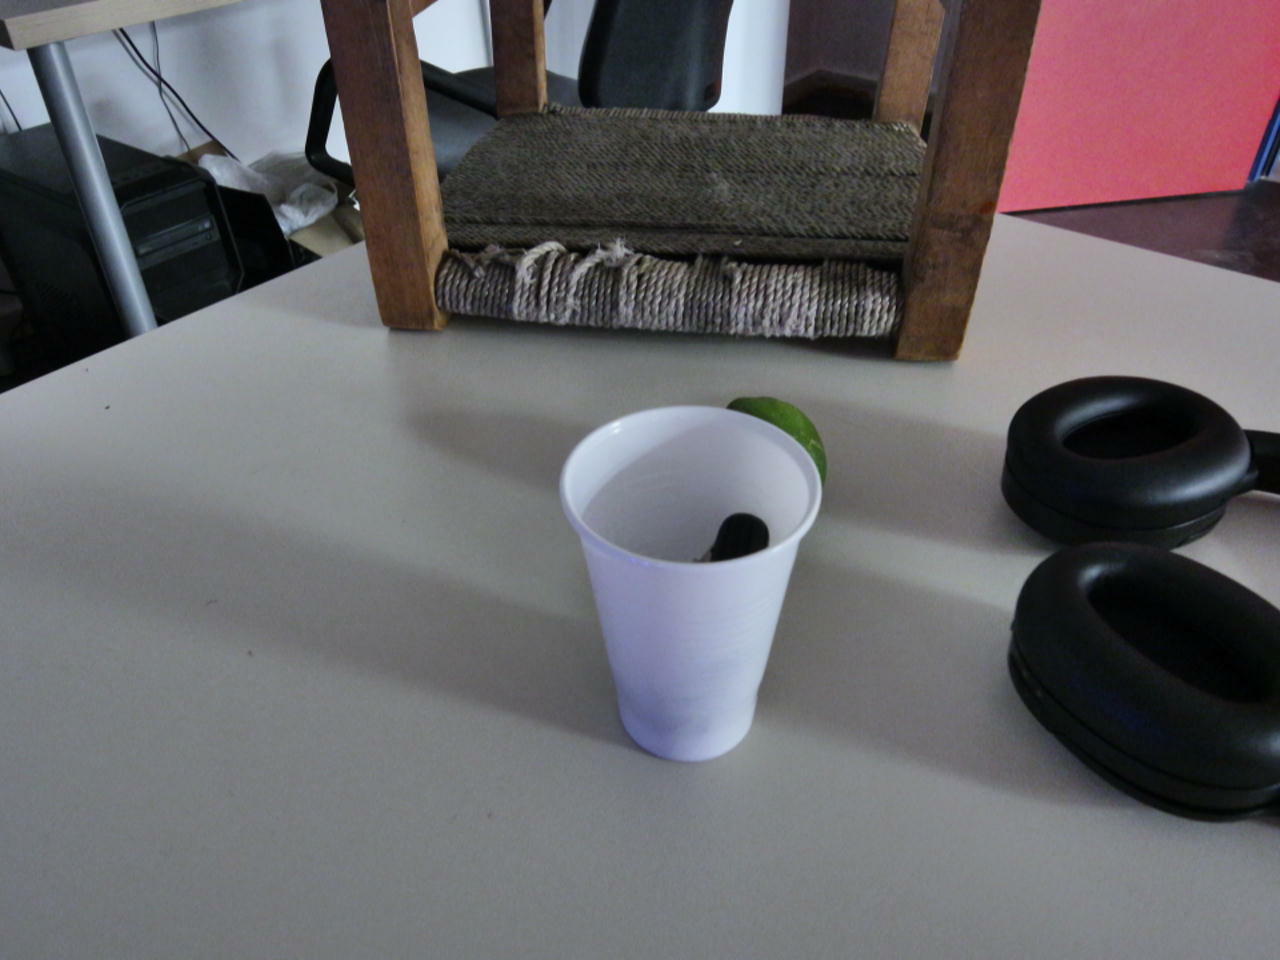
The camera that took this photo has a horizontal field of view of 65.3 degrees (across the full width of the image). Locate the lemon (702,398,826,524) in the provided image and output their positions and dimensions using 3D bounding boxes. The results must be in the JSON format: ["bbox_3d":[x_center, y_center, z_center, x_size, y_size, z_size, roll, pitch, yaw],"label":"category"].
[{"bbox_3d":[0.054,-0.010,0.438,0.057,0.051,0.054,23,43,29],"label":"lemon"}]
